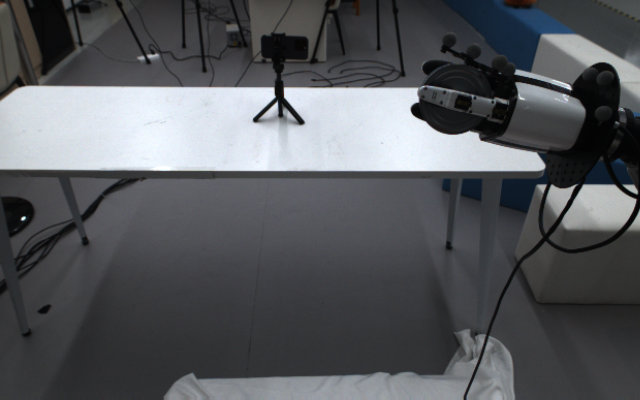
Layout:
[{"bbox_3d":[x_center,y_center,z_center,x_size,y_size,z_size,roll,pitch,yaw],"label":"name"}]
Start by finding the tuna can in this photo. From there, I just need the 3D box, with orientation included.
[{"bbox_3d":[0.169,-0.129,0.608,0.085,0.085,0.034,7,16,6],"label":"tuna can"}]
